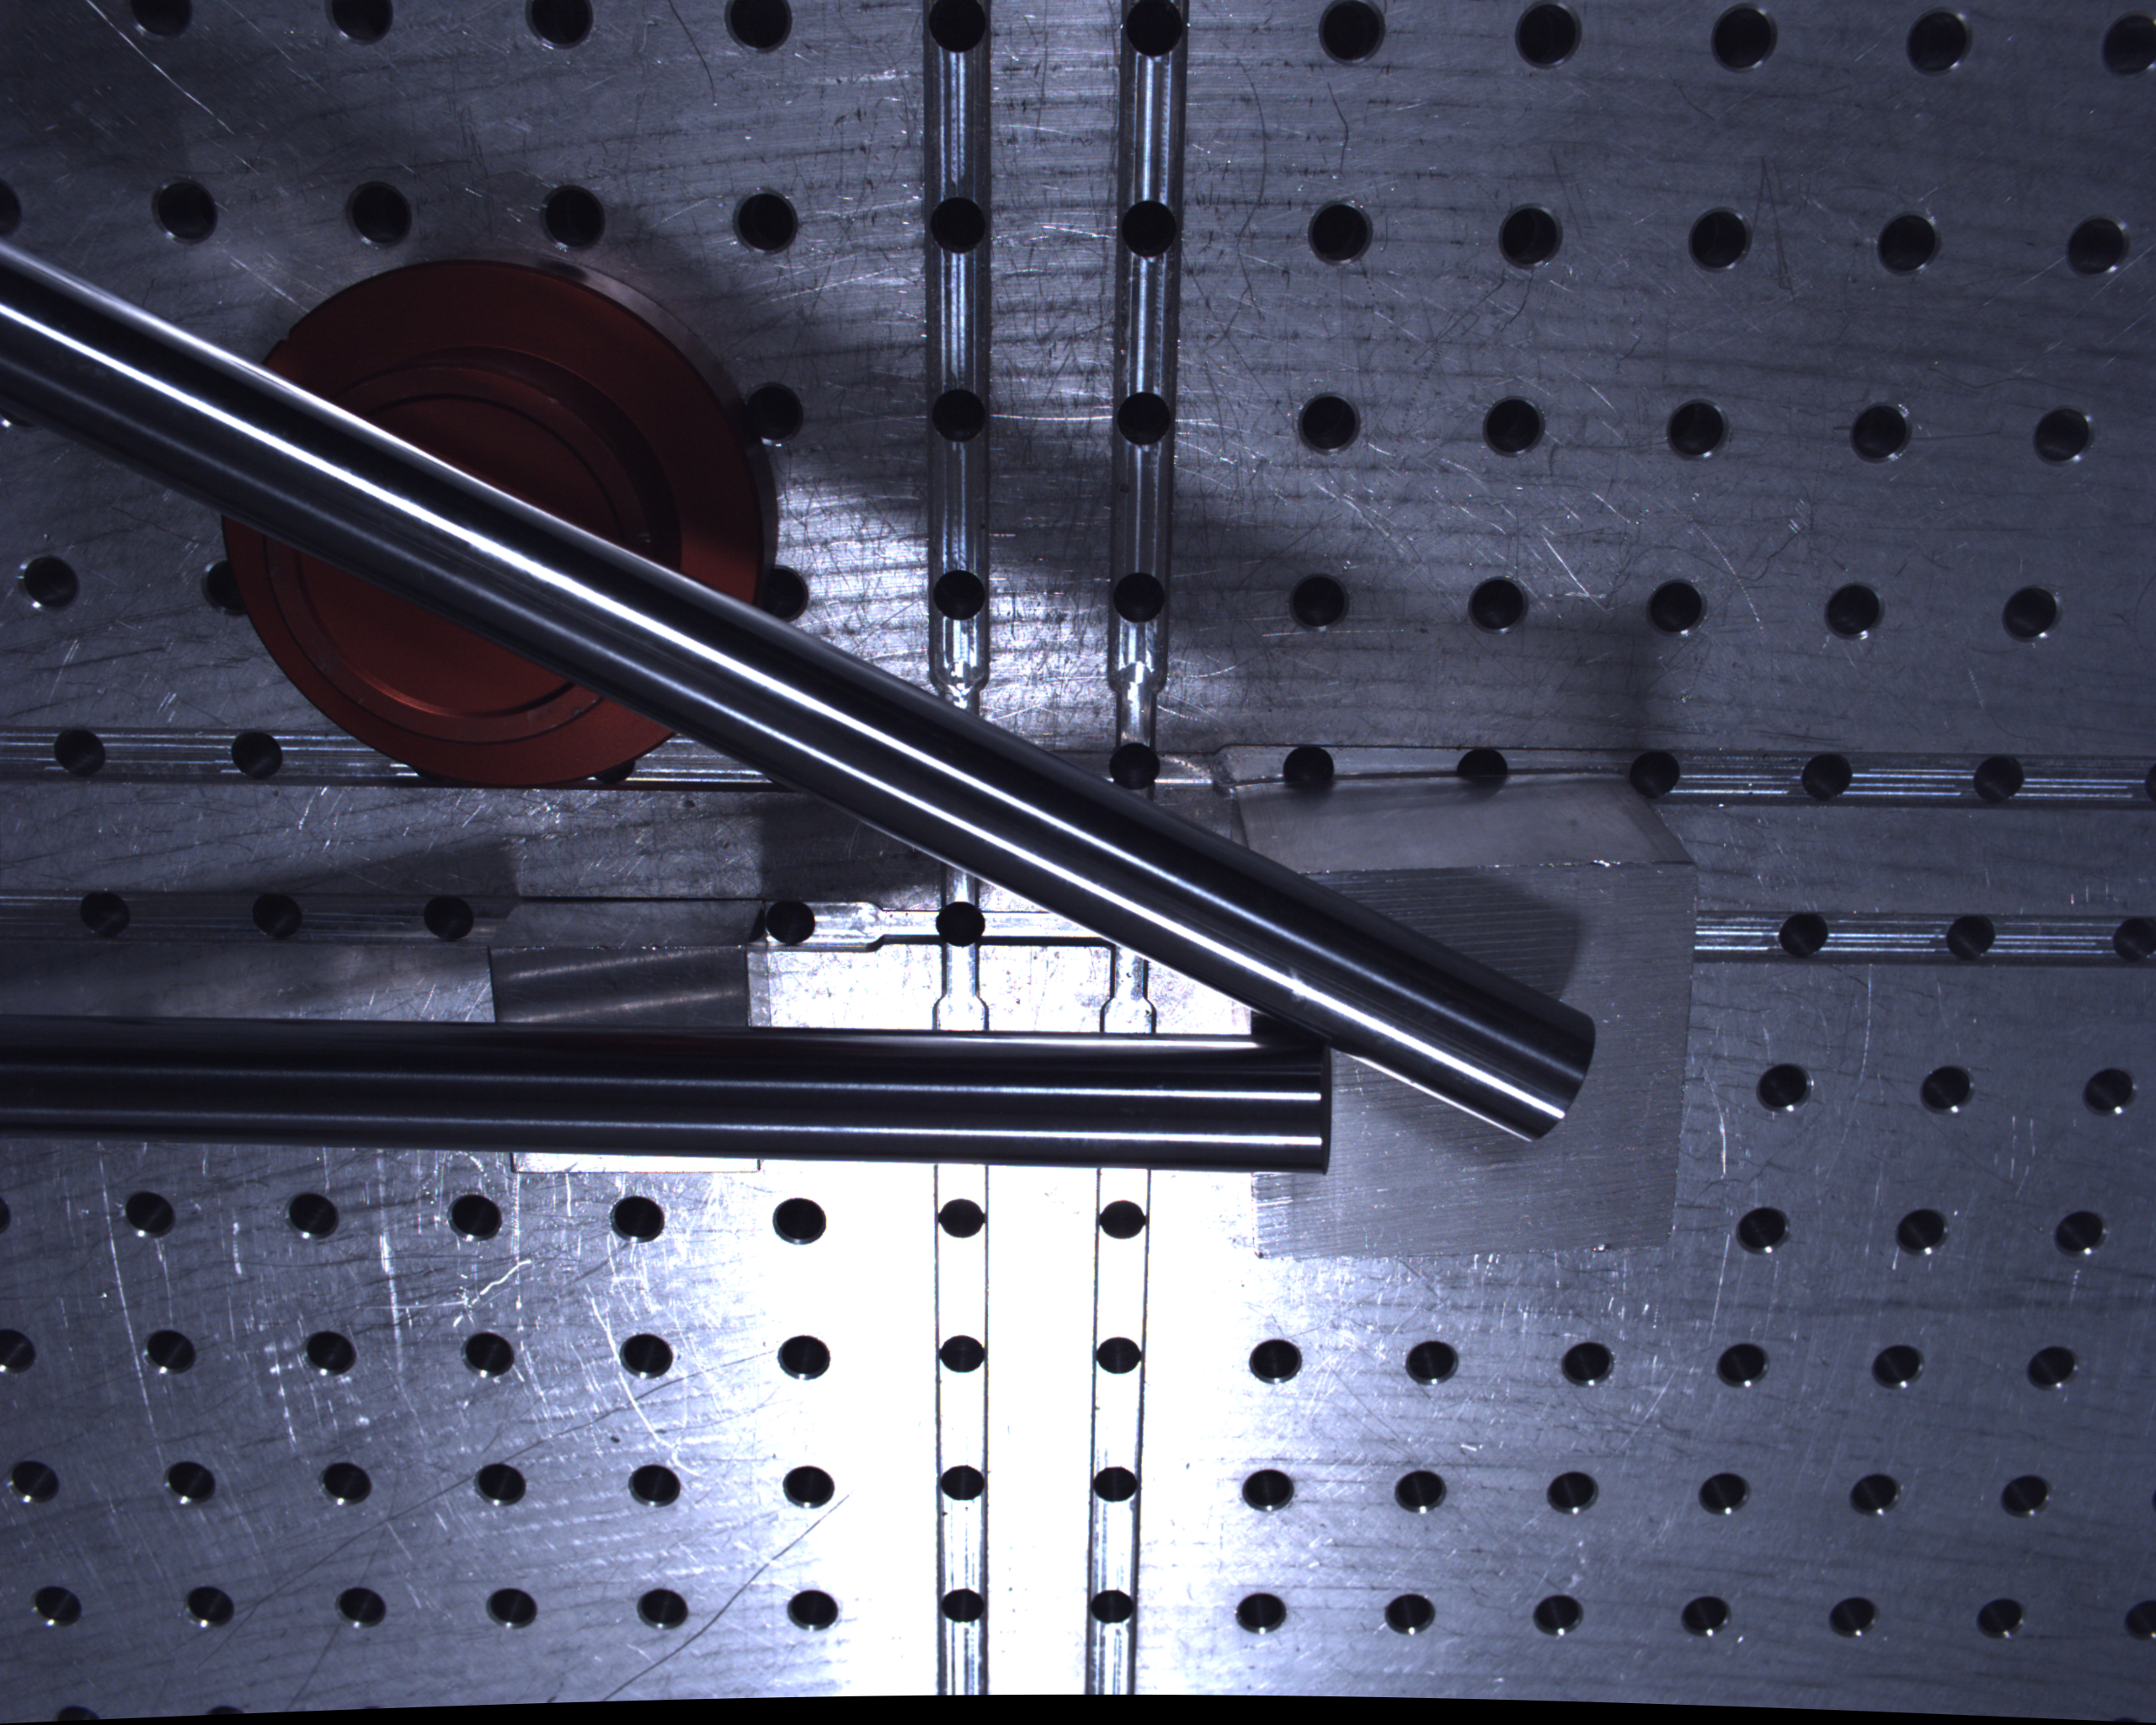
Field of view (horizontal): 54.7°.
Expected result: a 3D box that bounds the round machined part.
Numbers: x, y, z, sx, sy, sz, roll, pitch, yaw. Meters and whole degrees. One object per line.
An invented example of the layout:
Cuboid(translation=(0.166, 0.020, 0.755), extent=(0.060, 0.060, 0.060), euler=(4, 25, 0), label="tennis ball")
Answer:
Cuboid(translation=(-0.107, -0.059, 0.381), extent=(0.099, 0.042, 0.097), euler=(0, 110, -1), label="round machined part")

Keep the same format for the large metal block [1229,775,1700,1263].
Cuboid(translation=(0.072, 0.029, 0.409), extent=(0.081, 0.050, 0.079), euler=(-2, 110, 0), label="large metal block")

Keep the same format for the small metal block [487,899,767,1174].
Cuboid(translation=(-0.090, 0.035, 0.426), extent=(0.050, 0.025, 0.050), euler=(0, 110, -1), label="small metal block")

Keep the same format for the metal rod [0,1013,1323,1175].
Cuboid(translation=(-0.105, 0.043, 0.398), extent=(0.301, 0.025, 0.025), euler=(0, 111, 10), label="metal rod")

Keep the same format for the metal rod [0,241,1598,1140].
Cuboid(translation=(-0.050, -0.027, 0.351), extent=(0.301, 0.025, 0.025), euler=(26, 108, -7), label="metal rod")
